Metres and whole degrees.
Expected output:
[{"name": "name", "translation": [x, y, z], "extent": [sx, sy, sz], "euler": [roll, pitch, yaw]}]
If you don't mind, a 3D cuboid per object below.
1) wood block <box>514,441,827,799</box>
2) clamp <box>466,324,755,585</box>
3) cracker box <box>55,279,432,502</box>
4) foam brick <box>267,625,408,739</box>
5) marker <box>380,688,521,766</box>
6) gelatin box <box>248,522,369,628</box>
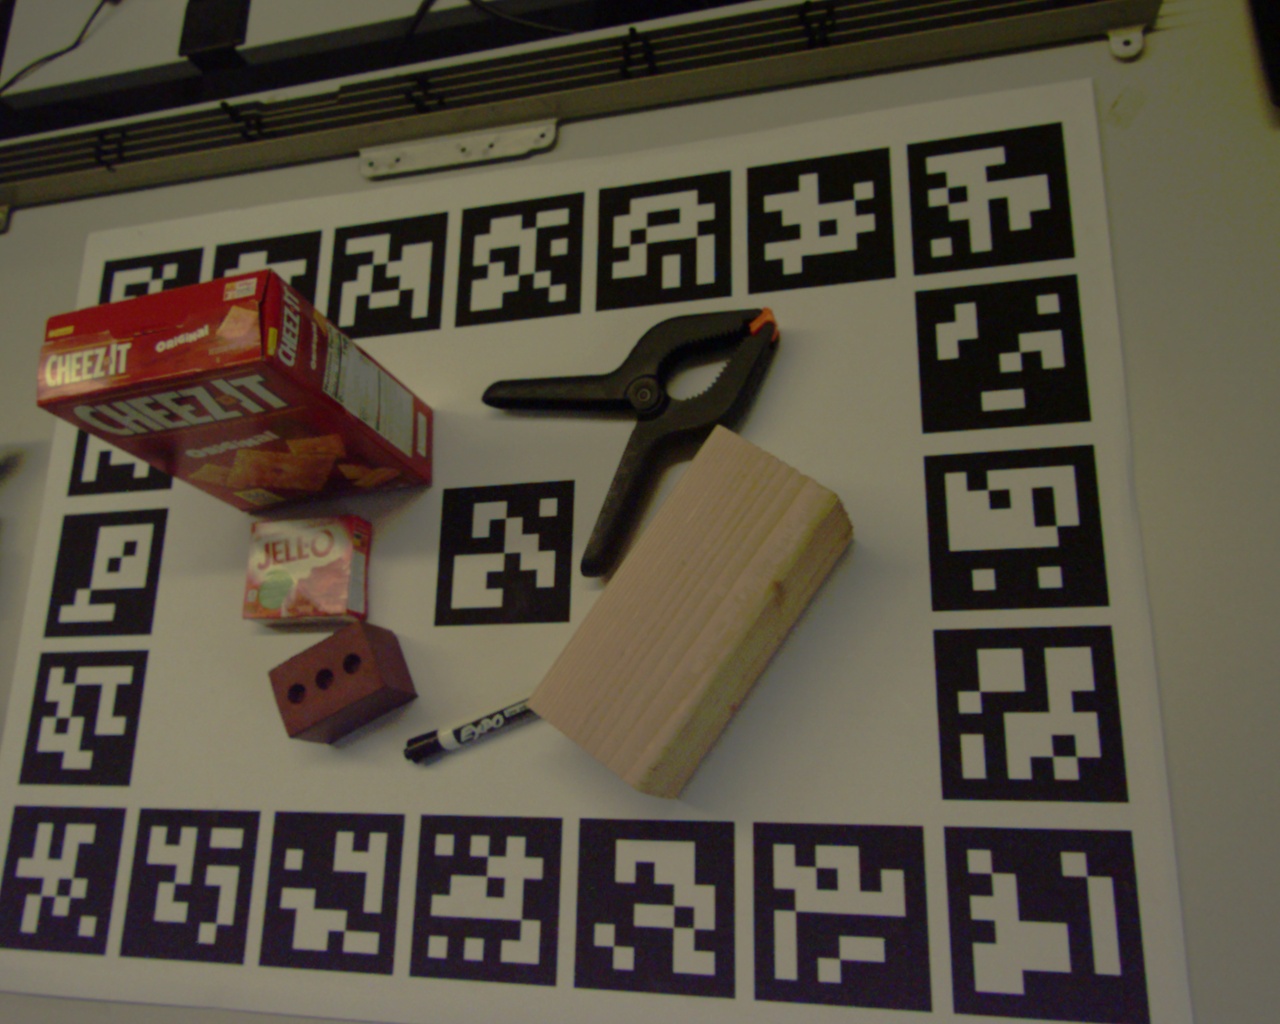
[{"name": "wood block", "translation": [0.021, 0.071, 0.738], "extent": [0.091, 0.090, 0.206], "euler": [34, 85, 25]}, {"name": "clamp", "translation": [-0.007, -0.067, 0.808], "extent": [0.203, 0.036, 0.166], "euler": [-33, 69, 8]}, {"name": "cracker box", "translation": [-0.263, -0.073, 0.794], "extent": [0.165, 0.212, 0.072], "euler": [-7, 73, 14]}, {"name": "foam brick", "translation": [-0.217, 0.123, 0.819], "extent": [0.078, 0.051, 0.053], "euler": [-28, 71, 9]}, {"name": "marker", "translation": [-0.128, 0.151, 0.798], "extent": [0.121, 0.019, 0.020], "euler": [-23, 72, 11]}, {"name": "gelatin box", "translation": [-0.251, 0.049, 0.864], "extent": [0.090, 0.030, 0.073], "euler": [-4, 76, 17]}]
